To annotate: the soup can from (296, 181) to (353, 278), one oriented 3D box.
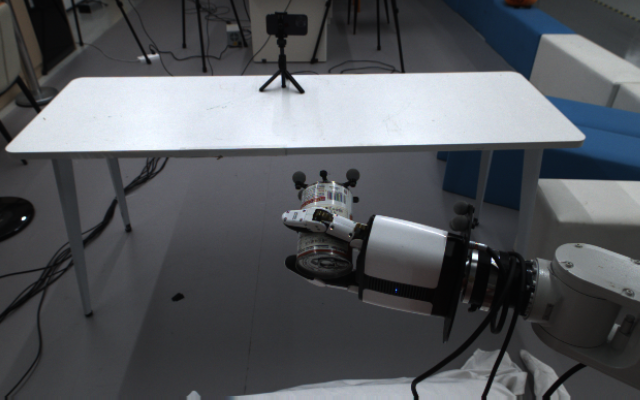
[{"bbox_3d":[0.008,0.036,0.589,0.067,0.067,0.101,3,57,1],"label":"soup can"}]
